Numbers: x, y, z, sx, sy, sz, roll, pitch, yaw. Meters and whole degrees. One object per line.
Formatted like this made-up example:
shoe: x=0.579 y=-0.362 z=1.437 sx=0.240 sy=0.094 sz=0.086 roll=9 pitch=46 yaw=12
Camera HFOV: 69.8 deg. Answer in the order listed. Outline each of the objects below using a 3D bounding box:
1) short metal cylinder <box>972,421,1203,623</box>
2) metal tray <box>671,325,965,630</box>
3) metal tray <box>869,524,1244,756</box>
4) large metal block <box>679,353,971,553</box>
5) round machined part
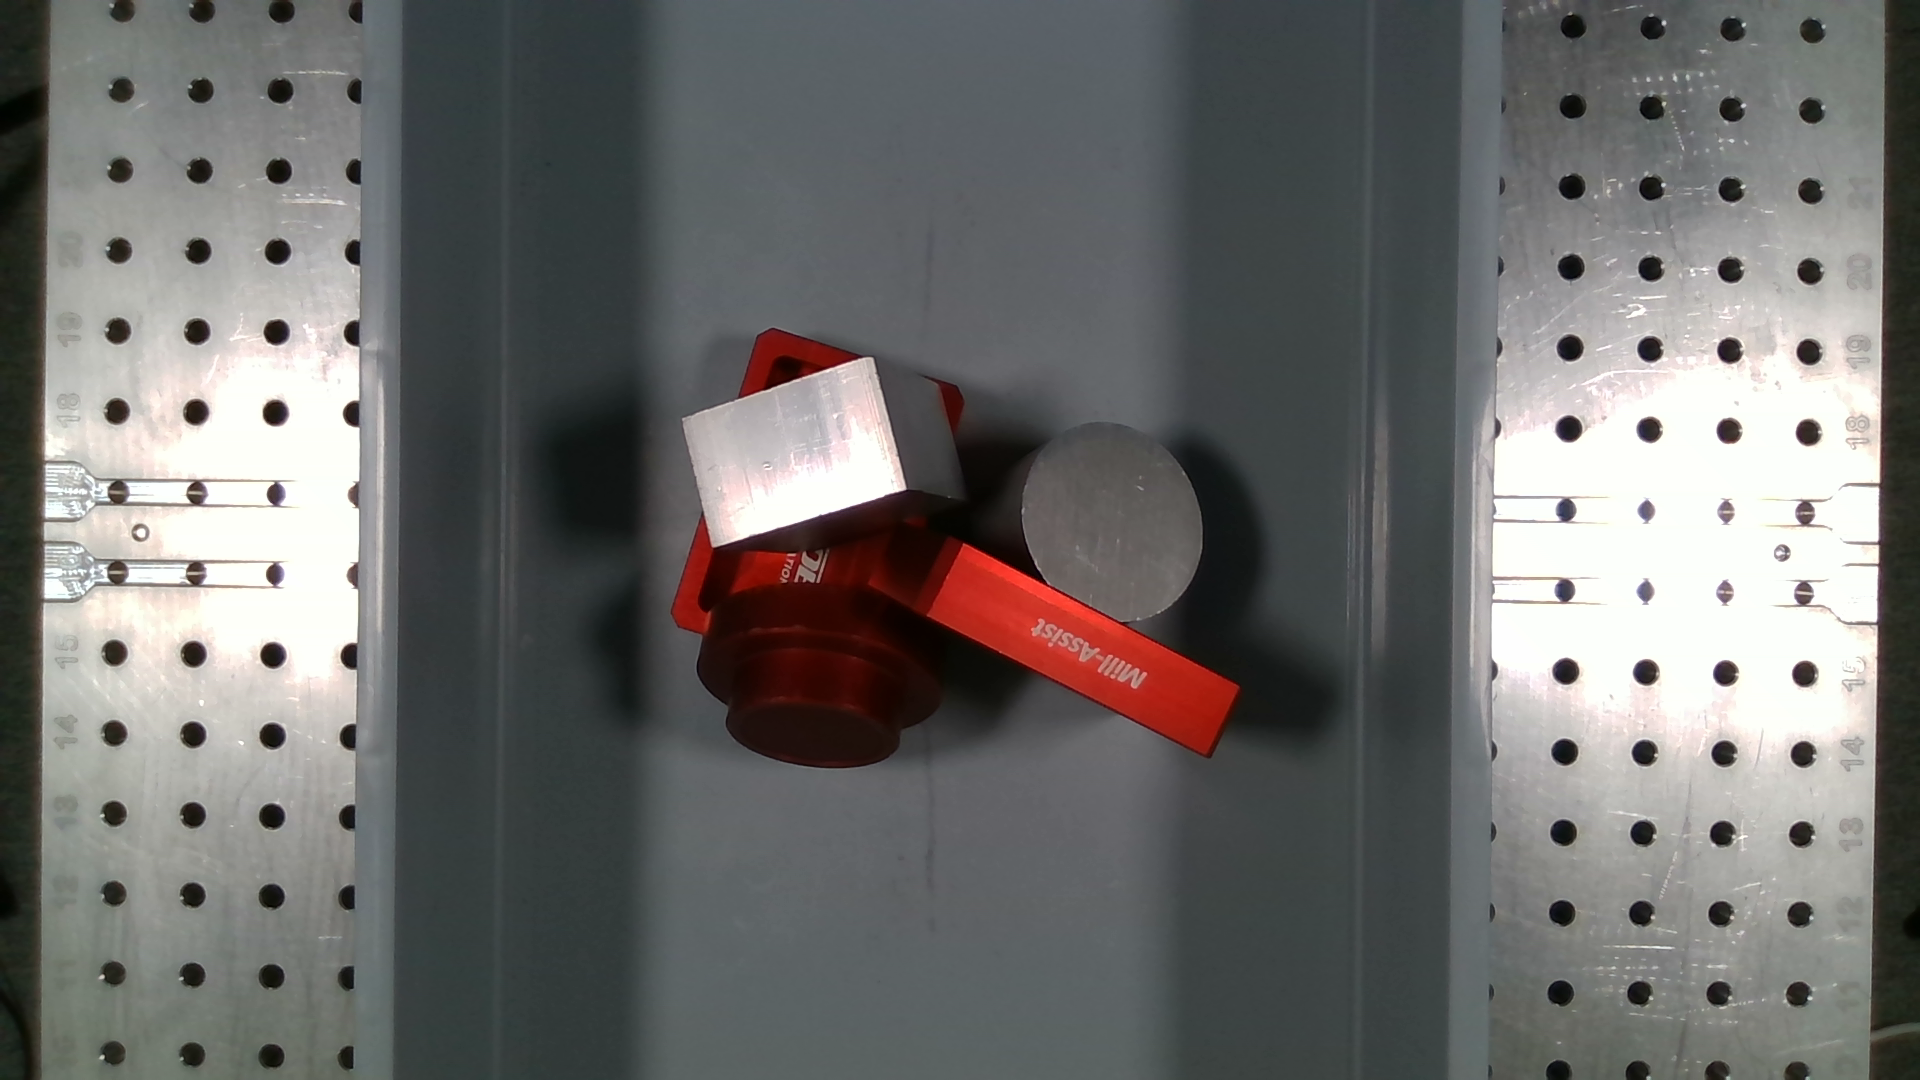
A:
short metal cylinder: x=0.051 y=-0.003 z=0.559 sx=0.080 sy=0.050 sz=0.080 roll=5 pitch=77 yaw=-22
metal tray: x=-0.059 y=-0.015 z=0.582 sx=0.090 sy=0.030 sz=0.130 roll=17 pitch=90 yaw=0
metal tray: x=0.034 y=0.037 z=0.538 sx=0.130 sy=0.090 sz=0.030 roll=27 pitch=87 yaw=-16
large metal block: x=-0.049 y=-0.030 z=0.535 sx=0.080 sy=0.080 sz=0.050 roll=-16 pitch=84 yaw=16
round machined part: x=-0.056 y=0.059 z=0.546 sx=0.098 sy=0.098 sz=0.042 roll=6 pitch=60 yaw=0
